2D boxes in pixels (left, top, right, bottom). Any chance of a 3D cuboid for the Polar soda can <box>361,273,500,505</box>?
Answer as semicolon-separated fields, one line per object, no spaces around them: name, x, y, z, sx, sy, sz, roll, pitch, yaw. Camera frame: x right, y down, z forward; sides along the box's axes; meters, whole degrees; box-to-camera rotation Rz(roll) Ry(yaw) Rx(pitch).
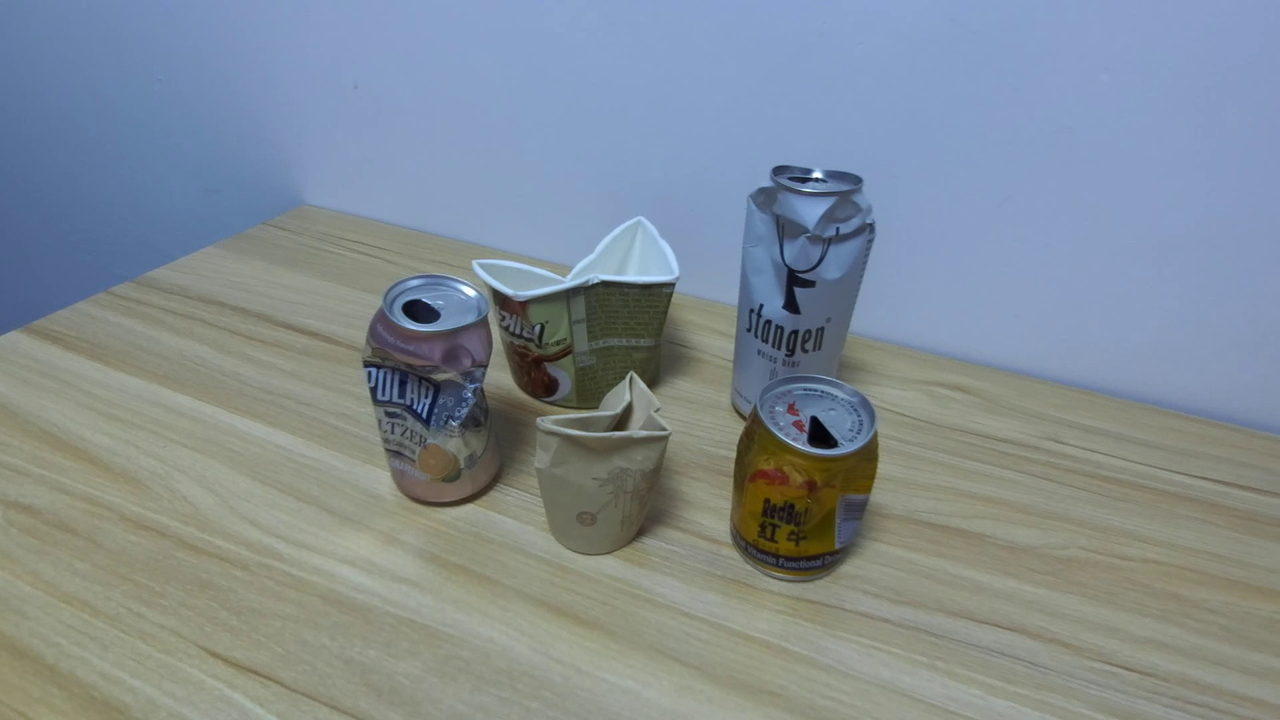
Polar soda can;-0.109;0.019;0.399;0.070;0.122;0.067;25;35;28

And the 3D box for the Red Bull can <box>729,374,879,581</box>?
Red Bull can;0.083;0.060;0.366;0.072;0.092;0.072;2;37;-1

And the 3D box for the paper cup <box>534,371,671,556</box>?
paper cup;-0.022;0.054;0.381;0.066;0.083;0.058;0;33;-5

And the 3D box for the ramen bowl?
ramen bowl;-0.045;-0.035;0.498;0.128;0.093;0.111;-8;37;-14

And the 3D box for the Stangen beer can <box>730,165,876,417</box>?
Stangen beer can;0.098;-0.036;0.444;0.066;0.166;0.065;-14;36;-25
